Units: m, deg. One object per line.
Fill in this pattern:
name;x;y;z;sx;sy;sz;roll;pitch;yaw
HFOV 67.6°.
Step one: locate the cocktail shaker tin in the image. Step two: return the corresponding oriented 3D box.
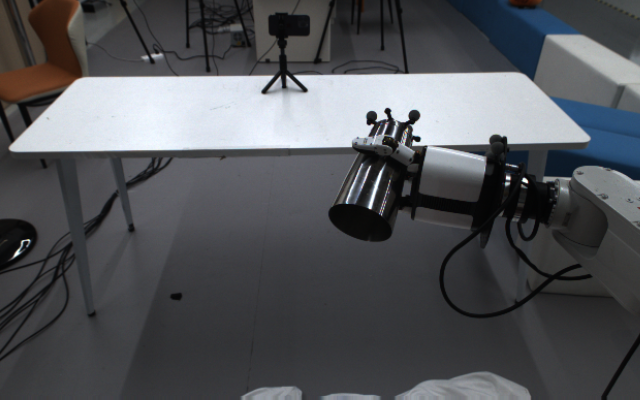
cocktail shaker tin;0.082;-0.037;0.703;0.093;0.093;0.170;14;57;16
